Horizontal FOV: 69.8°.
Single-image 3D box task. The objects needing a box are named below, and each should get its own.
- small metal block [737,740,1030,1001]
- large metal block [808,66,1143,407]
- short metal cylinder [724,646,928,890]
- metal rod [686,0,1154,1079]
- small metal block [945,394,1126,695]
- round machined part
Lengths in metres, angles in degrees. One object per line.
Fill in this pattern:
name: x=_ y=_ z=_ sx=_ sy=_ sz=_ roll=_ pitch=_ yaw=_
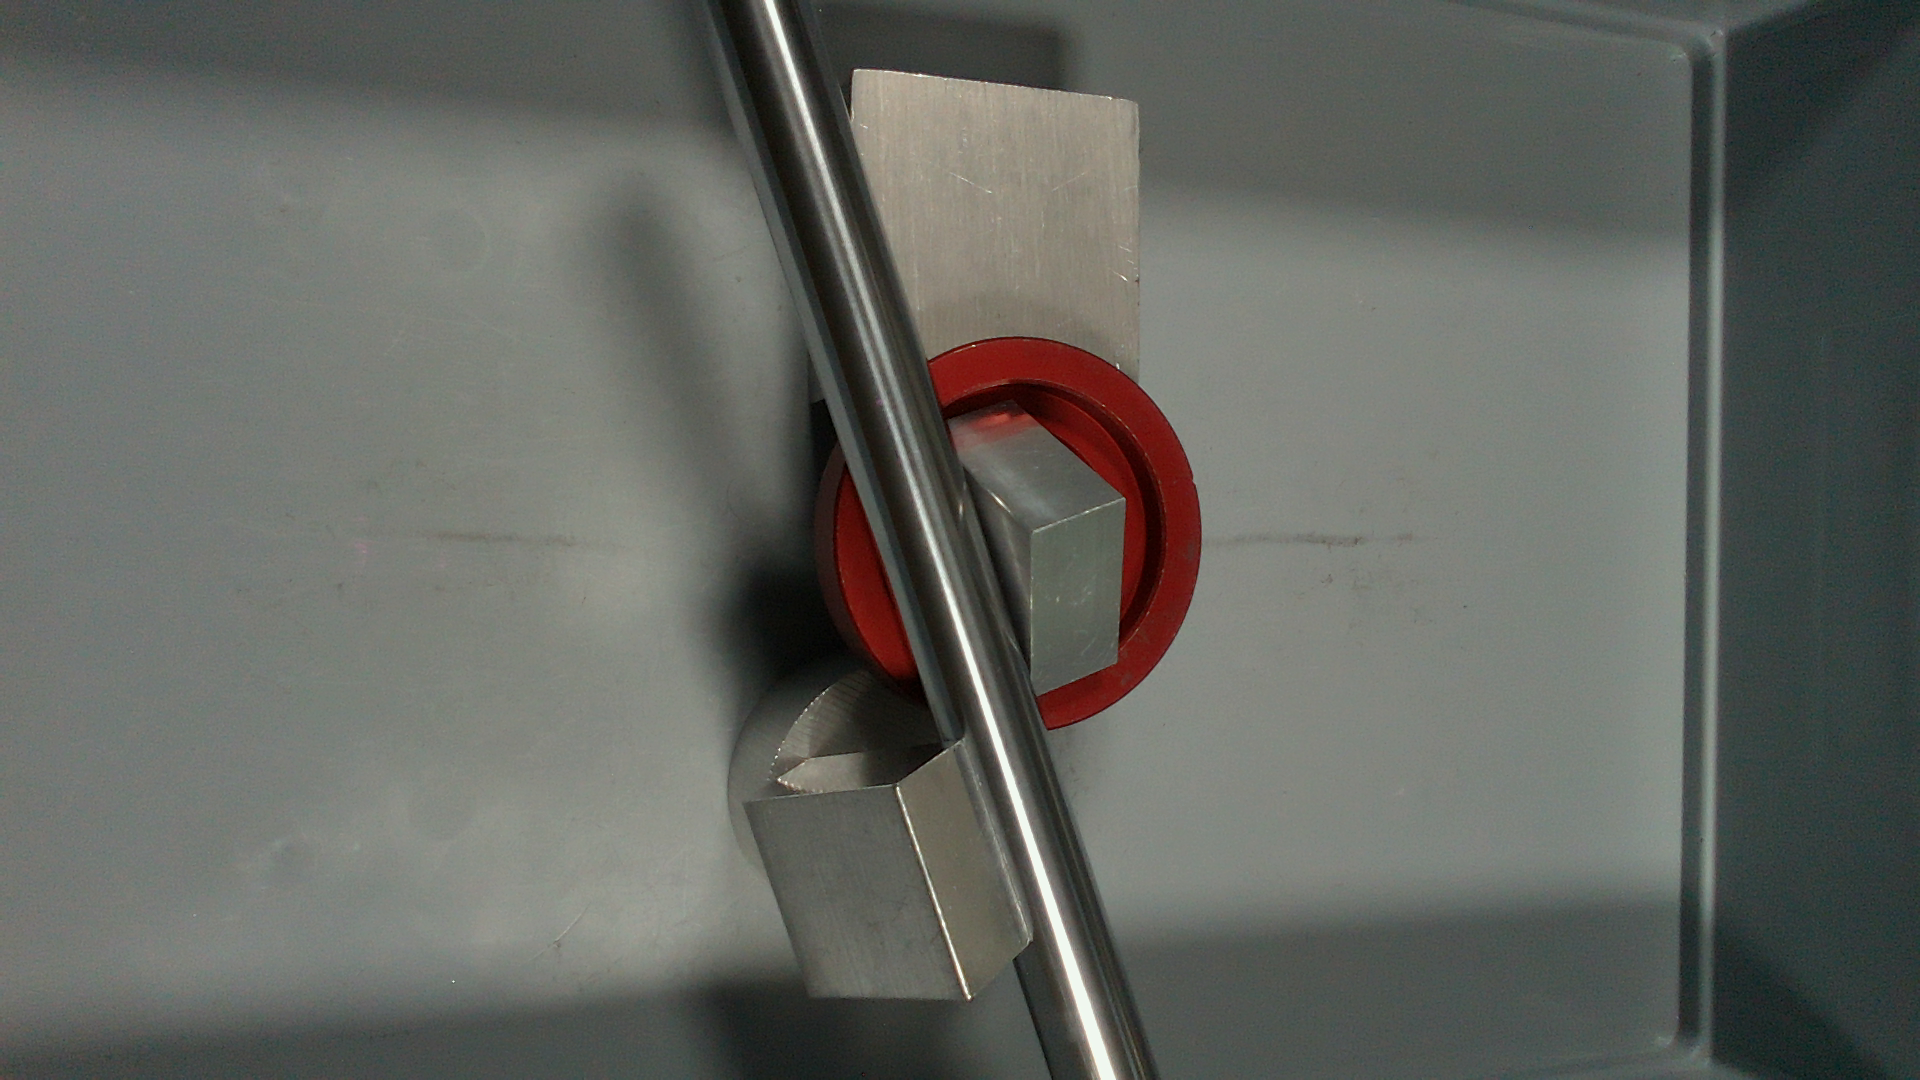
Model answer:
small metal block: x=-0.018 y=0.077 z=0.317 sx=0.025 sy=0.050 sz=0.050 roll=-26 pitch=99 yaw=-52
large metal block: x=0.003 y=-0.078 z=0.379 sx=0.080 sy=0.050 sz=0.080 roll=0 pitch=90 yaw=-20
short metal cylinder: x=-0.020 y=0.070 z=0.373 sx=0.080 sy=0.050 sz=0.080 roll=0 pitch=90 yaw=-20
metal rod: x=-0.010 y=-0.004 z=0.315 sx=0.025 sy=0.025 sz=0.300 roll=-20 pitch=97 yaw=-19
small metal block: x=0.014 y=0.001 z=0.333 sx=0.025 sy=0.050 sz=0.050 roll=-20 pitch=131 yaw=-22
round machined part: x=0.010 y=-0.002 z=0.356 sx=0.098 sy=0.042 sz=0.098 roll=0 pitch=90 yaw=-20
